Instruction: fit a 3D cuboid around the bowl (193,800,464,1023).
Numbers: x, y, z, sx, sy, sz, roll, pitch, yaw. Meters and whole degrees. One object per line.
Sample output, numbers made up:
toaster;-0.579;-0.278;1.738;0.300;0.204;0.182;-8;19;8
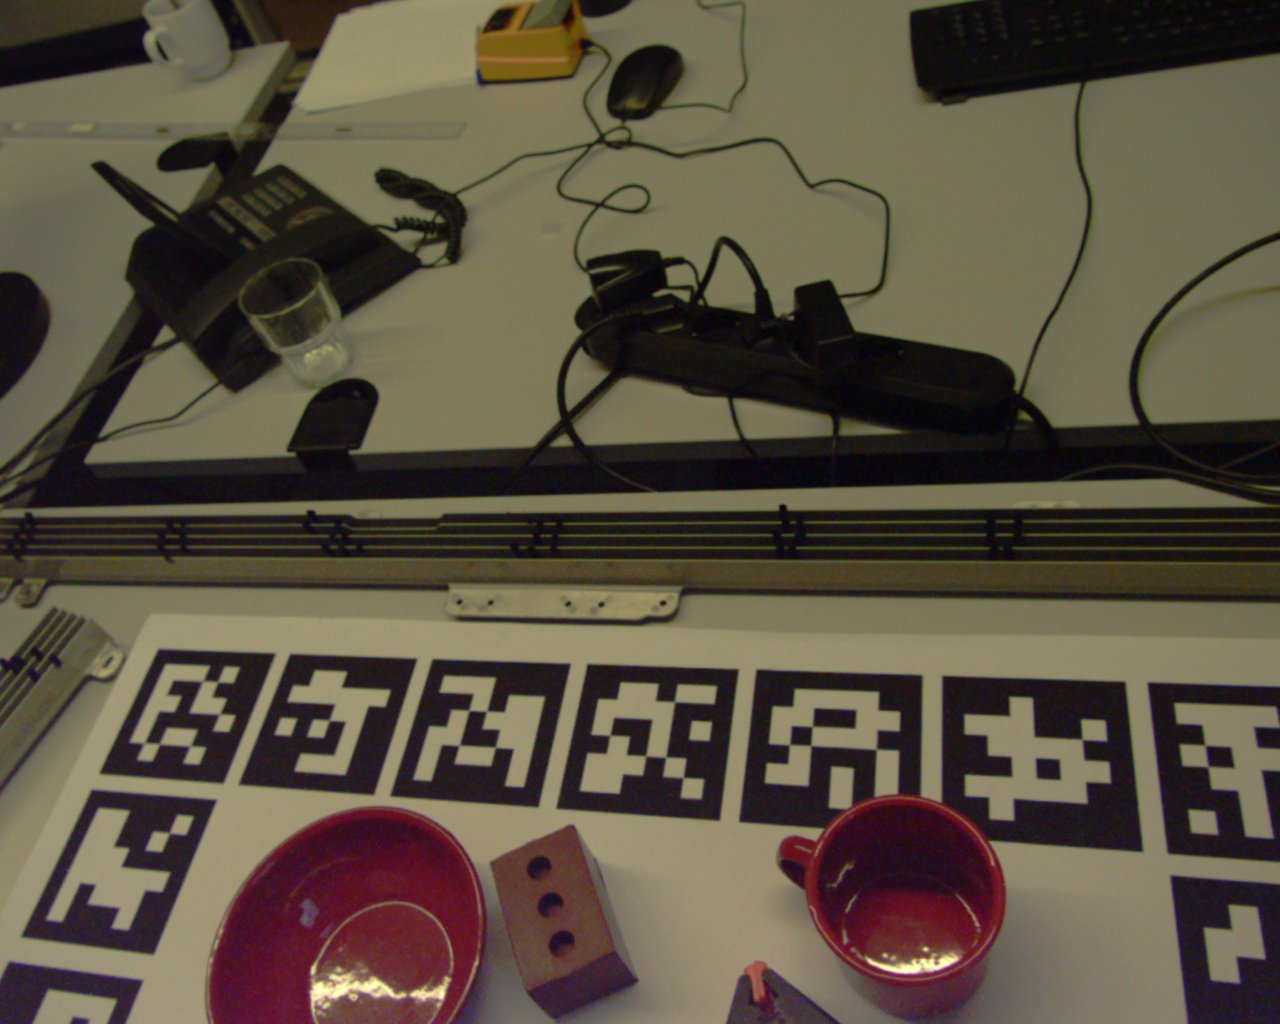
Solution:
bowl;-0.172;0.254;0.663;0.162;0.055;0.162;-8;51;9

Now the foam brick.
foam brick;-0.053;0.236;0.651;0.053;0.051;0.079;-23;51;-1

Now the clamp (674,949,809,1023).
clamp;0.063;0.314;0.549;0.165;0.036;0.204;-21;51;3

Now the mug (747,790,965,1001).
mug;0.109;0.200;0.600;0.118;0.081;0.093;24;63;27
